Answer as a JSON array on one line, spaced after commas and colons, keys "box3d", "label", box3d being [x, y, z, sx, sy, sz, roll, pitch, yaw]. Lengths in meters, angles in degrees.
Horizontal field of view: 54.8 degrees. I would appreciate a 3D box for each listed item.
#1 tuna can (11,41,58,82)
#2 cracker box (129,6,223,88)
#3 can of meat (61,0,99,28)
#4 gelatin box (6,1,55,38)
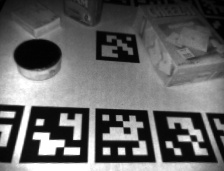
[{"box3d": [-0.156, -0.049, 0.445, 0.086, 0.034, 0.085, 5, 57, -6], "label": "tuna can"}, {"box3d": [0.160, -0.108, 0.536, 0.165, 0.072, 0.211, -10, 55, -19], "label": "cracker box"}, {"box3d": [-0.084, -0.207, 0.556, 0.101, 0.084, 0.058, 26, 53, 11], "label": "can of meat"}, {"box3d": [-0.196, -0.163, 0.526, 0.089, 0.030, 0.074, 38, 53, 14], "label": "gelatin box"}]
